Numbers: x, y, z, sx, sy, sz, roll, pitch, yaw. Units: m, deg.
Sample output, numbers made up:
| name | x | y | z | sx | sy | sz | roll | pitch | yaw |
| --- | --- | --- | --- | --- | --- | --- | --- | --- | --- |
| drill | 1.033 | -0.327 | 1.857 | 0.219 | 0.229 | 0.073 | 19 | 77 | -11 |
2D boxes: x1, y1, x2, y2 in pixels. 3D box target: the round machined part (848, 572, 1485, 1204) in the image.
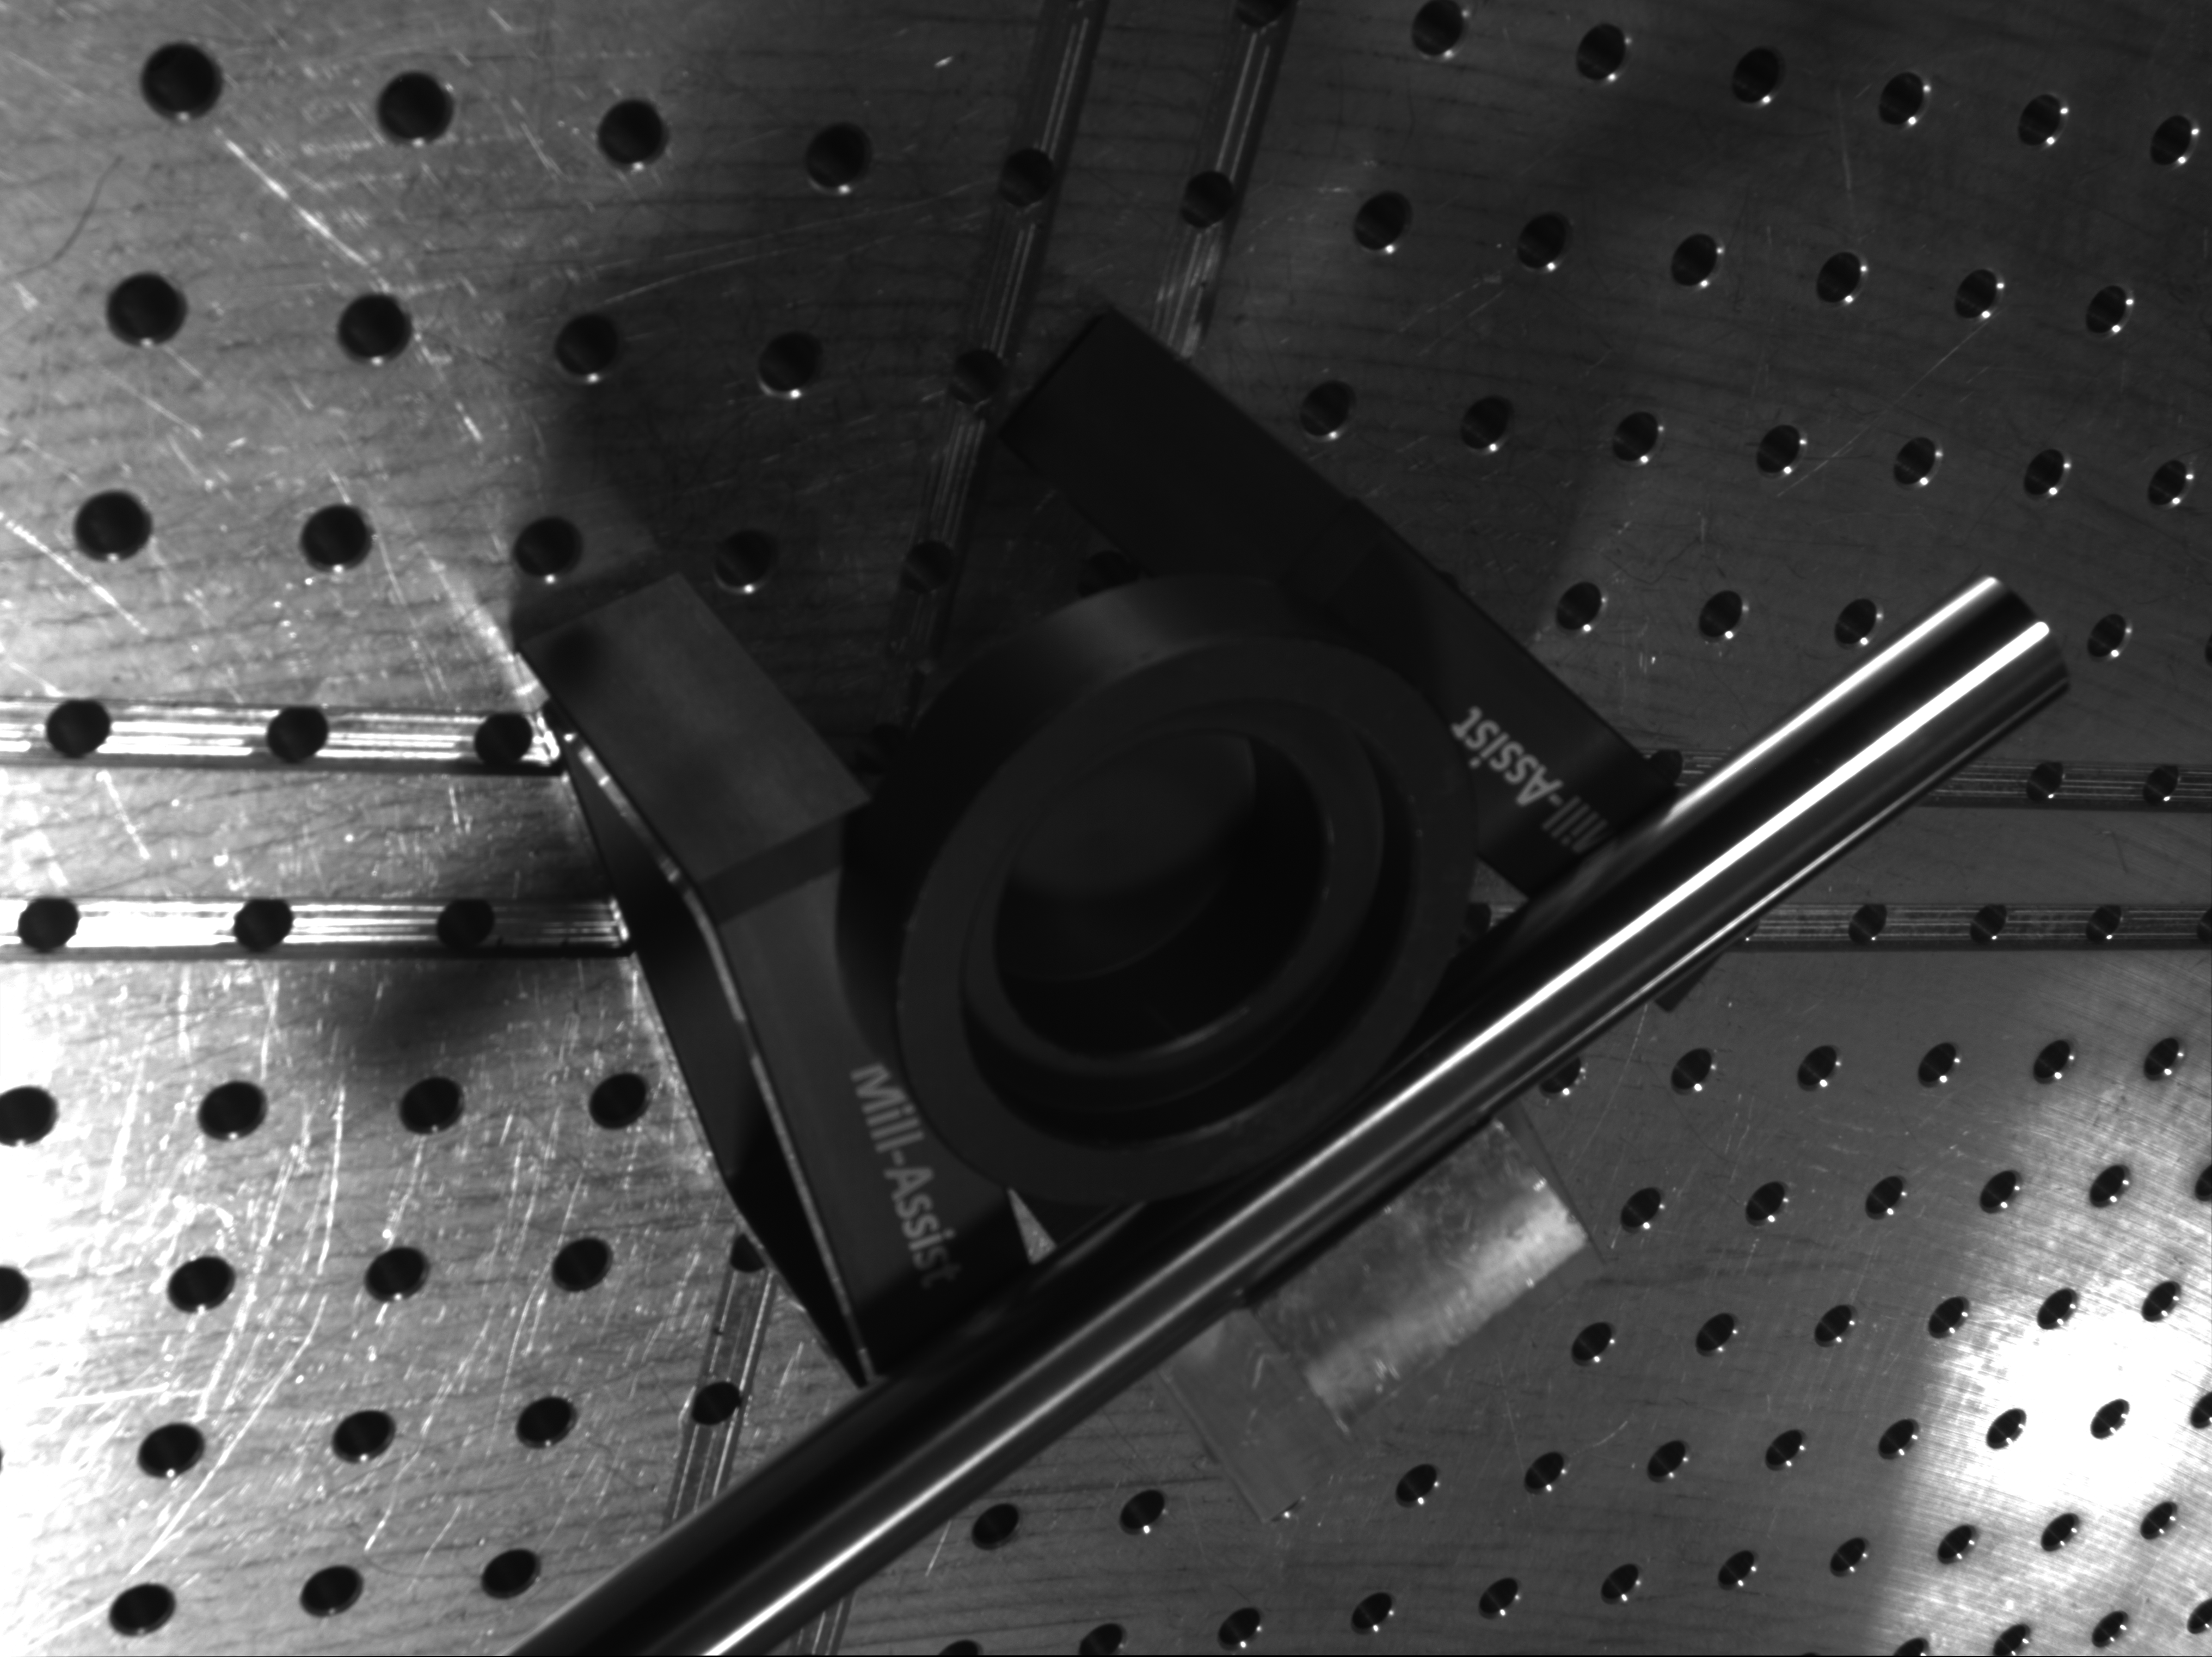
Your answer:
| name | x | y | z | sx | sy | sz | roll | pitch | yaw |
| --- | --- | --- | --- | --- | --- | --- | --- | --- | --- |
| round machined part | 0.005 | 0.005 | 0.559 | 0.098 | 0.042 | 0.098 | -15 | 125 | -22 |

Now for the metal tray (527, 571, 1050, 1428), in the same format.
| name | x | y | z | sx | sy | sz | roll | pitch | yaw |
| --- | --- | --- | --- | --- | --- | --- | --- | --- | --- |
| metal tray | -0.049 | 0.033 | 0.603 | 0.030 | 0.090 | 0.130 | -26 | 128 | -14 |

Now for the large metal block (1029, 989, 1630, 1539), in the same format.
| name | x | y | z | sx | sy | sz | roll | pitch | yaw |
| --- | --- | --- | --- | --- | --- | --- | --- | --- | --- |
| large metal block | 0.036 | 0.069 | 0.677 | 0.080 | 0.080 | 0.050 | -36 | 130 | -6 |

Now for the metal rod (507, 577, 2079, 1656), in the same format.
| name | x | y | z | sx | sy | sz | roll | pitch | yaw |
| --- | --- | --- | --- | --- | --- | --- | --- | --- | --- |
| metal rod | 0.031 | 0.055 | 0.588 | 0.300 | 0.025 | 0.025 | -36 | 130 | -7 |

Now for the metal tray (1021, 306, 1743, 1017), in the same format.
| name | x | y | z | sx | sy | sz | roll | pitch | yaw |
| --- | --- | --- | --- | --- | --- | --- | --- | --- | --- |
| metal tray | 0.052 | -0.027 | 0.624 | 0.030 | 0.090 | 0.130 | -48 | 130 | 6 |

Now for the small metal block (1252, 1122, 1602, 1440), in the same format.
| name | x | y | z | sx | sy | sz | roll | pitch | yaw |
| --- | --- | --- | --- | --- | --- | --- | --- | --- | --- |
| small metal block | 0.051 | 0.075 | 0.606 | 0.050 | 0.050 | 0.025 | -37 | 85 | -5 |
